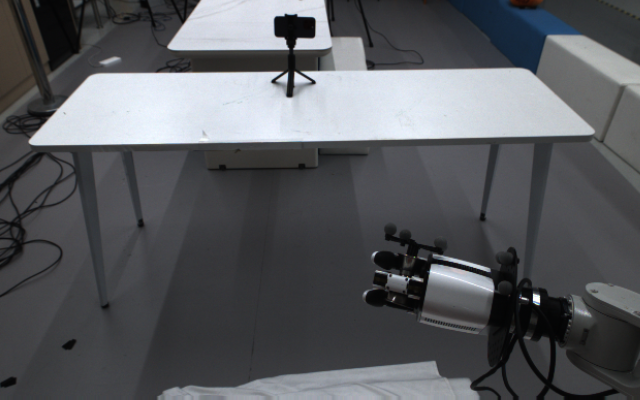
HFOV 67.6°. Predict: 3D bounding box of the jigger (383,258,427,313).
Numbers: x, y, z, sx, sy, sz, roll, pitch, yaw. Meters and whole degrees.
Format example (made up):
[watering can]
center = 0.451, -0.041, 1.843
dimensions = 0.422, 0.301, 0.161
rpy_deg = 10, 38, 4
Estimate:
[jigger]
center = 0.121, 0.110, 0.672
dimensions = 0.043, 0.071, 0.043
rpy_deg = 16, -7, 2
